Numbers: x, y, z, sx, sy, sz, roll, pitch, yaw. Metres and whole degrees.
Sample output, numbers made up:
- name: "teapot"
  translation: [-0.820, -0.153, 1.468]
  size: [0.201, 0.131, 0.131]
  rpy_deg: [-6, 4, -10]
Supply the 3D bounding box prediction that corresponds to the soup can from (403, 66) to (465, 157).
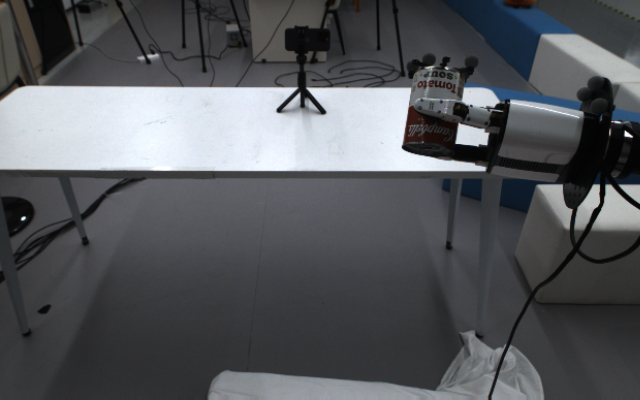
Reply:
- name: "soup can"
  translation: [0.148, -0.115, 0.630]
  size: [0.067, 0.101, 0.067]
  rpy_deg: [9, -5, 1]
